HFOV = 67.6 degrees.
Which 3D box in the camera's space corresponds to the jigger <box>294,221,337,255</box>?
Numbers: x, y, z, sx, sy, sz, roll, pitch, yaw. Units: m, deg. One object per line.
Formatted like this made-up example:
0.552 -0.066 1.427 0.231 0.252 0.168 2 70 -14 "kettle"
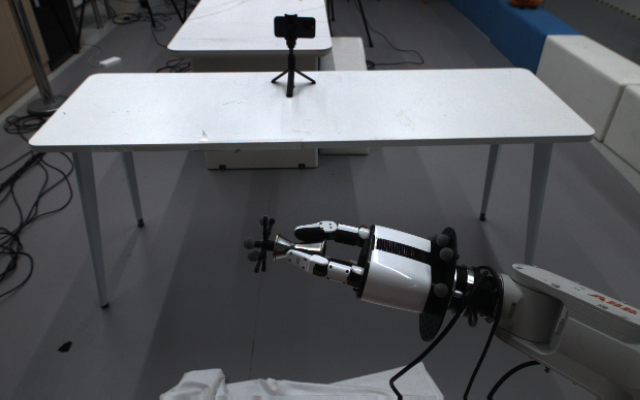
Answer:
-0.020 0.065 0.681 0.071 0.043 0.043 7 35 7 "jigger"
